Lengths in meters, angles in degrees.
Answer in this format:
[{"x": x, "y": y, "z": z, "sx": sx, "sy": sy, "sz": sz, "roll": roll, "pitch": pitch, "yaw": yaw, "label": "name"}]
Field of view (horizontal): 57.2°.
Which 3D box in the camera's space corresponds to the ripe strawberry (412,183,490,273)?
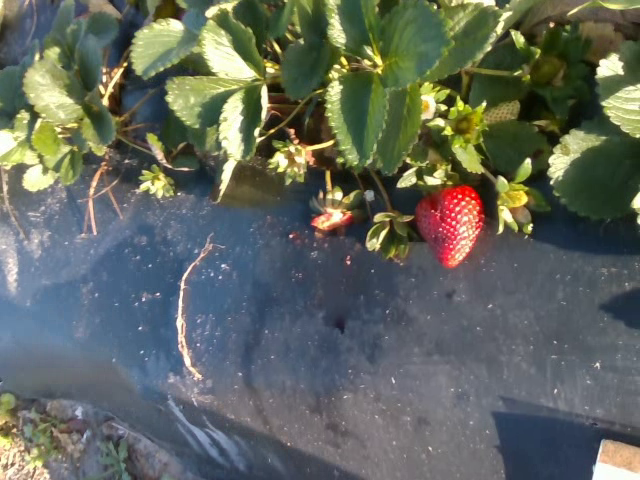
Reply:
[{"x": 0.082, "y": -0.005, "z": 0.369, "sx": 0.052, "sy": 0.052, "sz": 0.041, "roll": -22, "pitch": -44, "yaw": 39, "label": "ripe strawberry"}]
